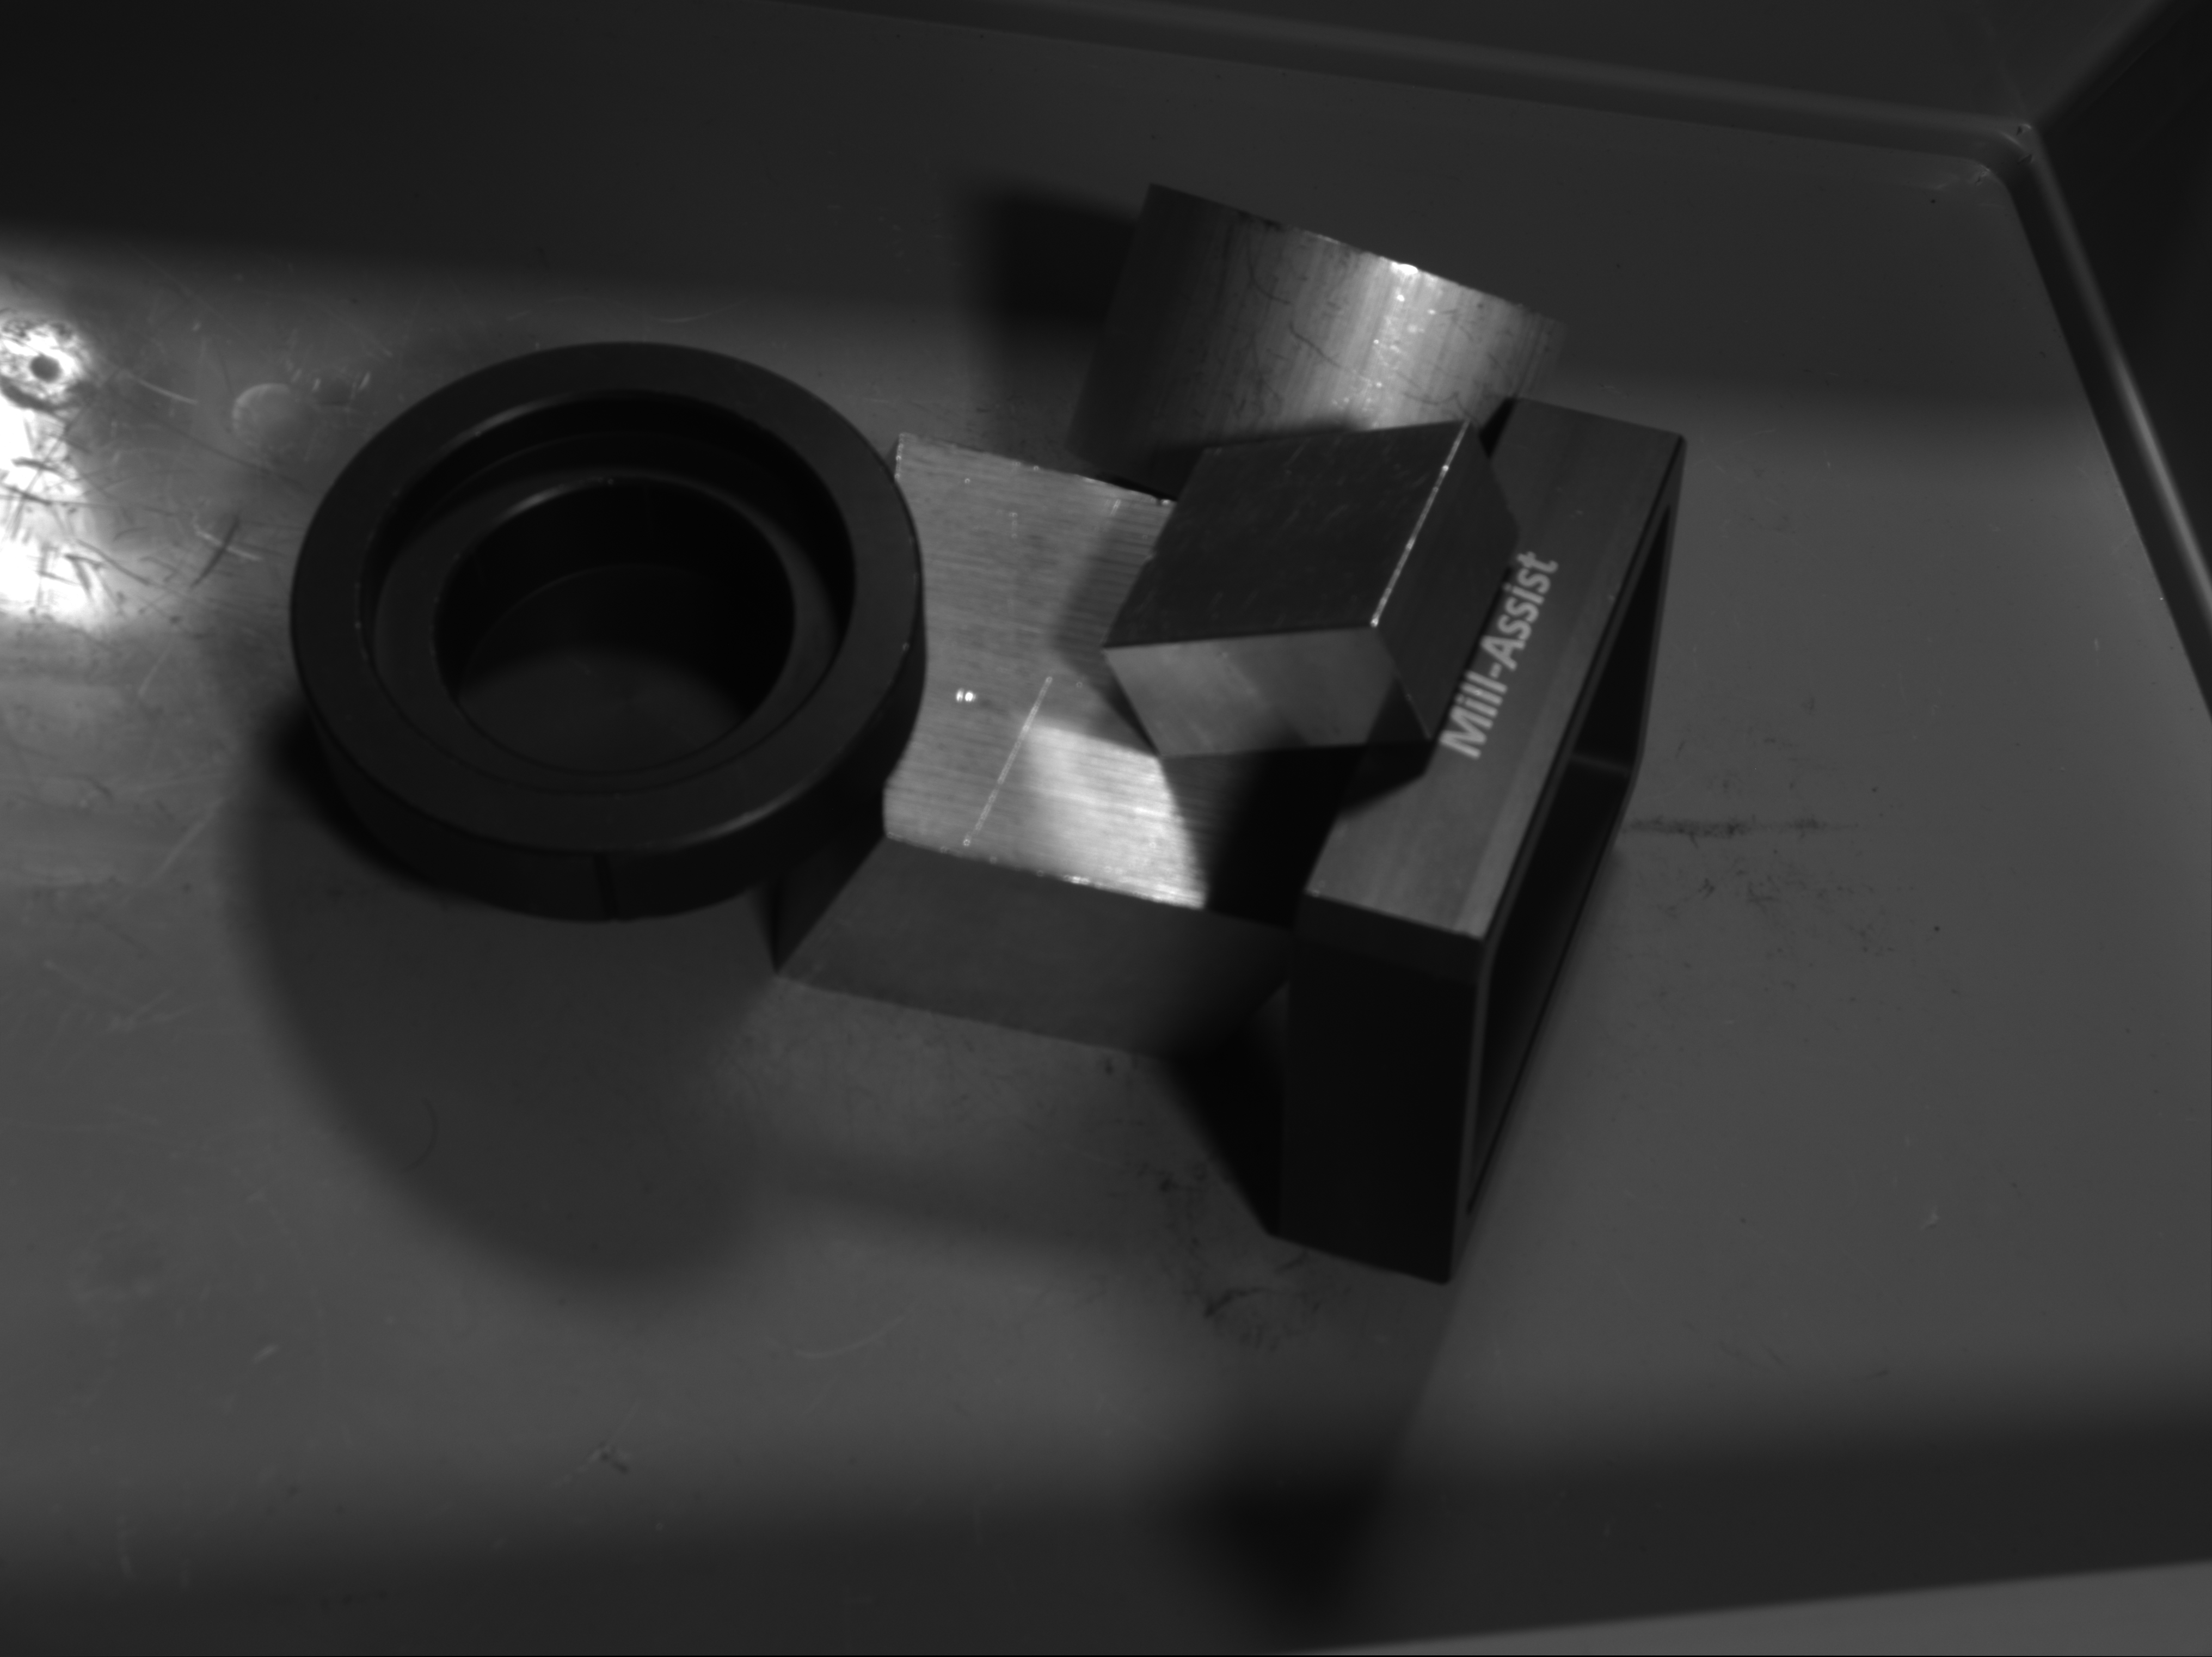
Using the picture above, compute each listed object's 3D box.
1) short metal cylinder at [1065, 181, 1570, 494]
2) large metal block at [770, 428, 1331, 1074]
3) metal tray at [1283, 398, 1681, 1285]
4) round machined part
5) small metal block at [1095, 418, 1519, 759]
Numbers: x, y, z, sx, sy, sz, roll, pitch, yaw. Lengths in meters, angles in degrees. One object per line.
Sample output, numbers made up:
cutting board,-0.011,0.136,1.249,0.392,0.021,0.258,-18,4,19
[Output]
short metal cylinder,0.038,-0.081,0.665,0.080,0.080,0.050,15,100,-20
large metal block,-0.009,-0.012,0.625,0.080,0.050,0.080,14,56,-20
metal tray,0.065,0.001,0.629,0.030,0.090,0.130,14,50,14
round machined part,-0.078,-0.027,0.587,0.098,0.042,0.098,1,59,-1
small metal block,0.033,-0.039,0.598,0.025,0.050,0.050,60,41,-35
